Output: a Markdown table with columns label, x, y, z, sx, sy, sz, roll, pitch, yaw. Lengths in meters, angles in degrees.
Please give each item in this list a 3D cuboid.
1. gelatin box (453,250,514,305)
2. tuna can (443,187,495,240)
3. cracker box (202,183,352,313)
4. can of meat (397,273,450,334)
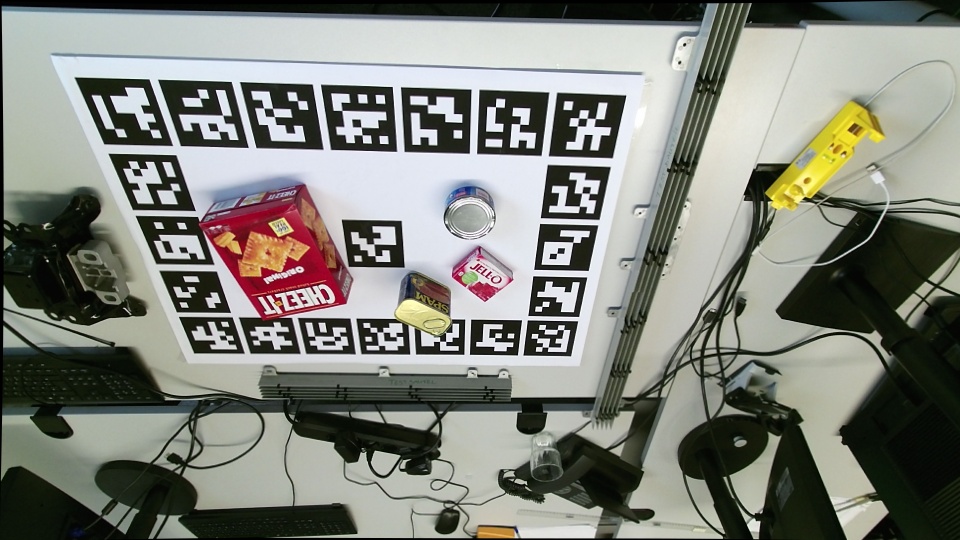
| label | x | y | z | sx | sy | sz | roll | pitch | yaw |
| --- | --- | --- | --- | --- | --- | --- | --- | --- | --- |
| gelatin box | 0.008 | 0.016 | 0.998 | 0.089 | 0.030 | 0.073 | 39 | 121 | -24 |
| tuna can | -0.019 | -0.095 | 0.905 | 0.086 | 0.033 | 0.086 | -1 | 125 | -2 |
| cracker box | -0.345 | -0.031 | 0.932 | 0.165 | 0.071 | 0.214 | -11 | 129 | 9 |
| can of meat | -0.107 | 0.061 | 1.006 | 0.102 | 0.083 | 0.058 | 26 | 123 | -21 |
